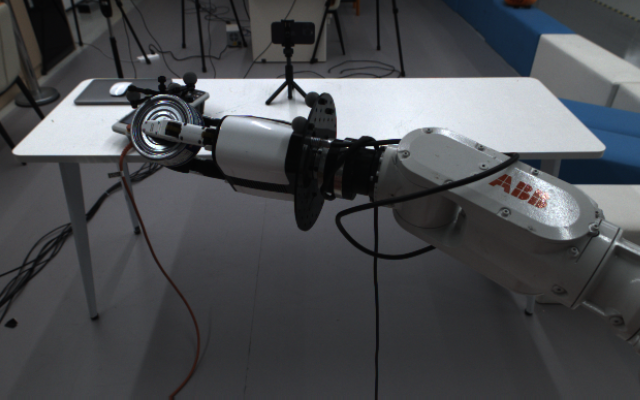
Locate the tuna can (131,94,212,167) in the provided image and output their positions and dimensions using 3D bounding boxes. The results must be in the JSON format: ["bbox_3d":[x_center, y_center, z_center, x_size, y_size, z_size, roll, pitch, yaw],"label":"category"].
[{"bbox_3d":[-0.184,-0.079,0.596,0.085,0.085,0.034,11,-4,13],"label":"tuna can"}]
